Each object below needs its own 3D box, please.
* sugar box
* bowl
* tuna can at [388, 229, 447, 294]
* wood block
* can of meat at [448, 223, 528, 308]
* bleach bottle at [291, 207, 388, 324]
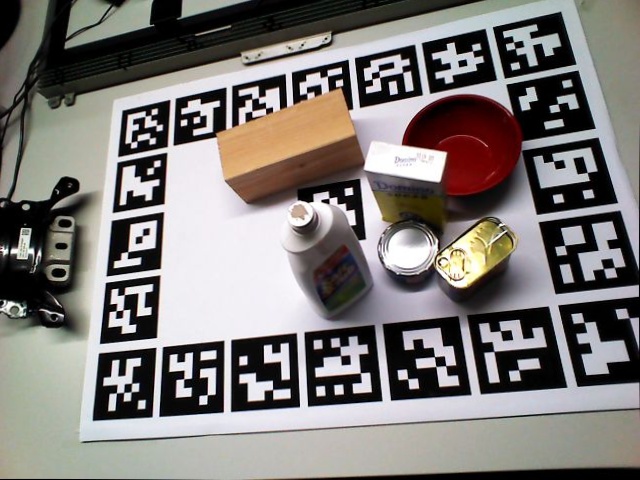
[{"bbox_3d":[0.139,-0.054,0.663,0.093,0.176,0.045,12,75,23],"label":"sugar box"},{"bbox_3d":[0.227,-0.119,0.732,0.162,0.055,0.161,-7,68,17],"label":"bowl"},{"bbox_3d":[0.138,0.031,0.709,0.086,0.034,0.085,-5,72,15],"label":"tuna can"},{"bbox_3d":[-0.030,-0.129,0.794,0.207,0.090,0.090,-17,70,8],"label":"wood block"},{"bbox_3d":[0.217,0.035,0.664,0.102,0.084,0.058,-36,61,-1],"label":"can of meat"},{"bbox_3d":[0.016,0.030,0.628,0.103,0.251,0.068,-32,63,2],"label":"bleach bottle"}]
